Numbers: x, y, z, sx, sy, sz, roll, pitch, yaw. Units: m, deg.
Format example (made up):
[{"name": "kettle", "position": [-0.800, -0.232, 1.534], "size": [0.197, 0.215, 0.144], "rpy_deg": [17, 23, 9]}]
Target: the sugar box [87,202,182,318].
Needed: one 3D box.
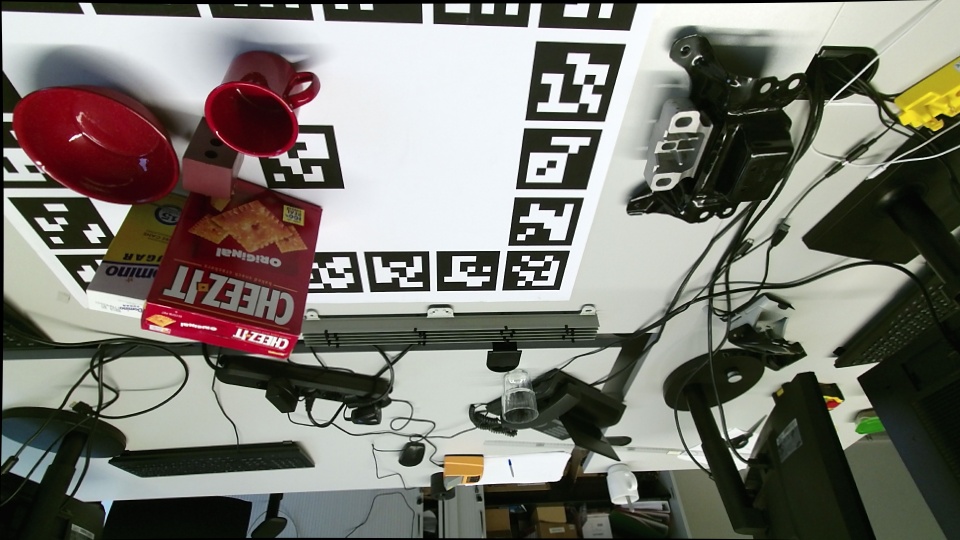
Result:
[{"name": "sugar box", "position": [-0.418, -0.010, 0.691], "size": [0.093, 0.175, 0.045], "rpy_deg": [13, 135, -20]}]

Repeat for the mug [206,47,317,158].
[{"name": "mug", "position": [-0.235, -0.185, 0.579], "size": [0.117, 0.081, 0.093], "rpy_deg": [-8, 146, 1]}]

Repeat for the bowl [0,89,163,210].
[{"name": "bowl", "position": [-0.443, -0.144, 0.614], "size": [0.162, 0.055, 0.162], "rpy_deg": [-3, 137, -3]}]

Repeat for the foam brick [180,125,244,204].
[{"name": "foam brick", "position": [-0.322, -0.129, 0.649], "size": [0.053, 0.077, 0.051], "rpy_deg": [9, 137, -16]}]

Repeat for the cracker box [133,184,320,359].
[{"name": "cracker box", "position": [-0.306, -0.009, 0.678], "size": [0.165, 0.212, 0.072], "rpy_deg": [21, 134, -25]}]
